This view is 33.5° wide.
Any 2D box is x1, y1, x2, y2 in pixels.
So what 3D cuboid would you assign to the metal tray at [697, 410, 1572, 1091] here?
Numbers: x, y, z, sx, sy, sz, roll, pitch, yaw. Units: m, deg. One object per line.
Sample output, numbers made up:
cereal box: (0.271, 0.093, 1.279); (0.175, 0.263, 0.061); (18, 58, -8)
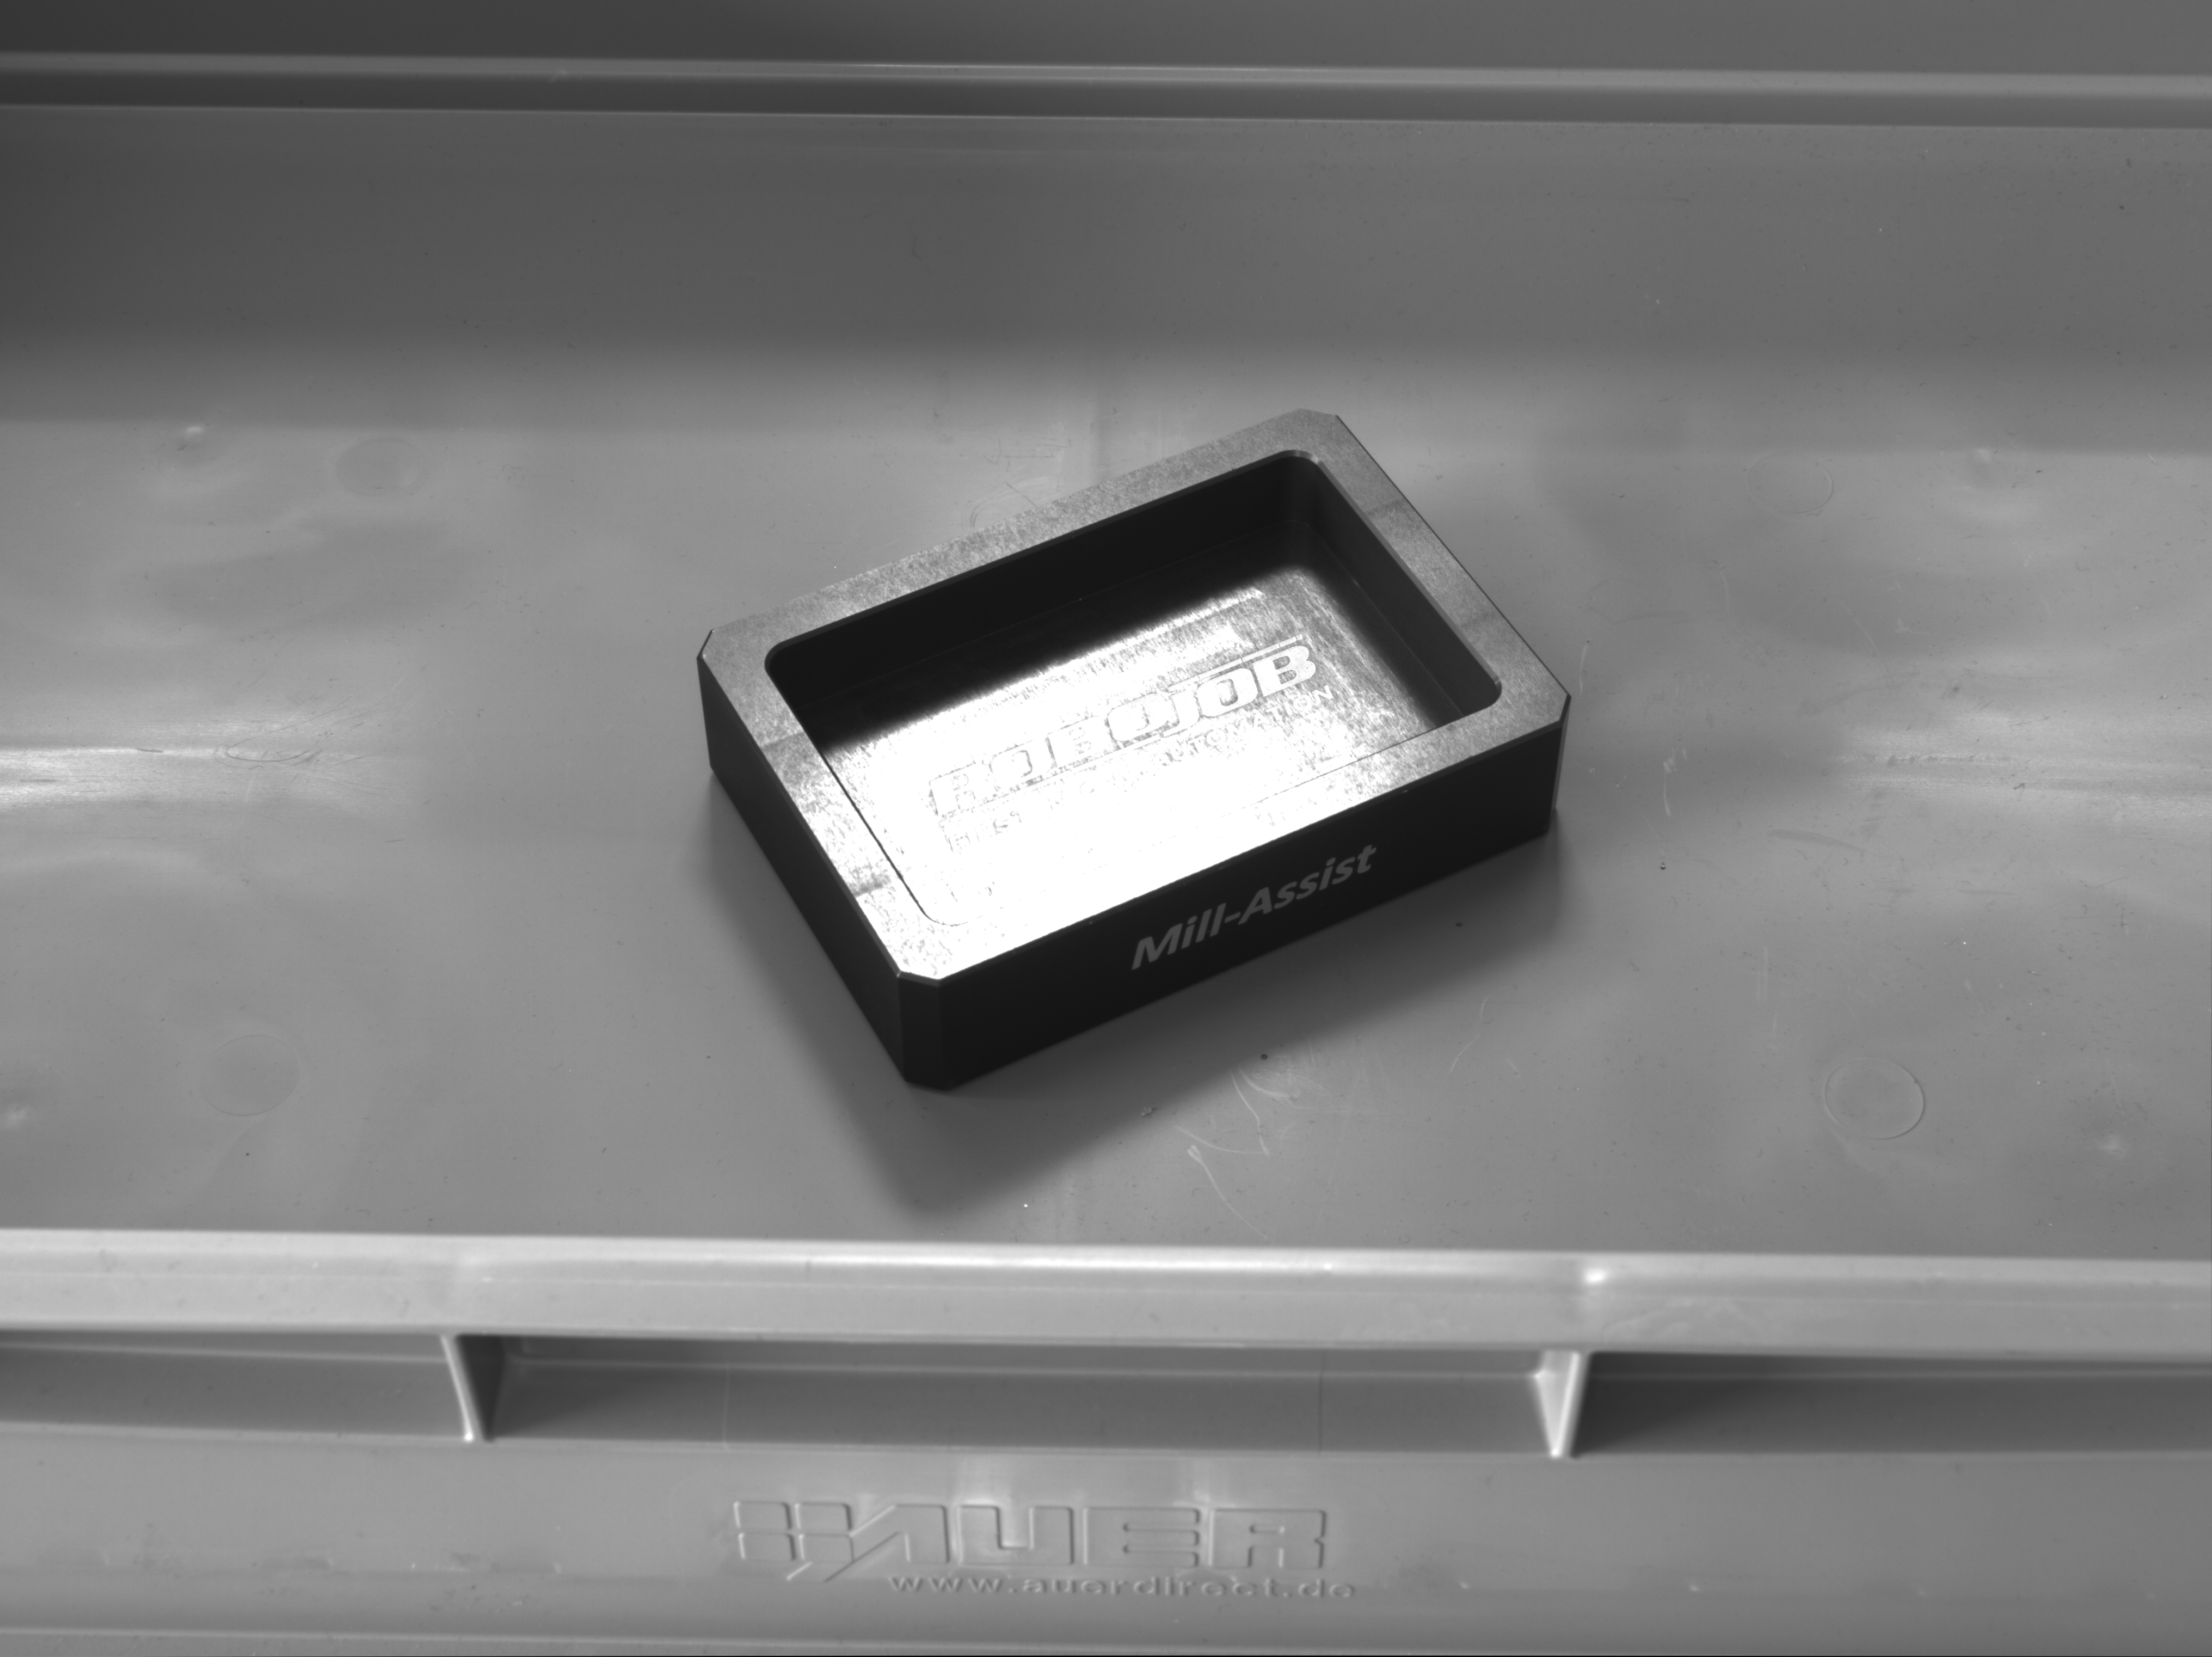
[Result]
metal tray: (0.005, -0.017, 0.650); (0.130, 0.030, 0.090); (-22, 54, -18)
